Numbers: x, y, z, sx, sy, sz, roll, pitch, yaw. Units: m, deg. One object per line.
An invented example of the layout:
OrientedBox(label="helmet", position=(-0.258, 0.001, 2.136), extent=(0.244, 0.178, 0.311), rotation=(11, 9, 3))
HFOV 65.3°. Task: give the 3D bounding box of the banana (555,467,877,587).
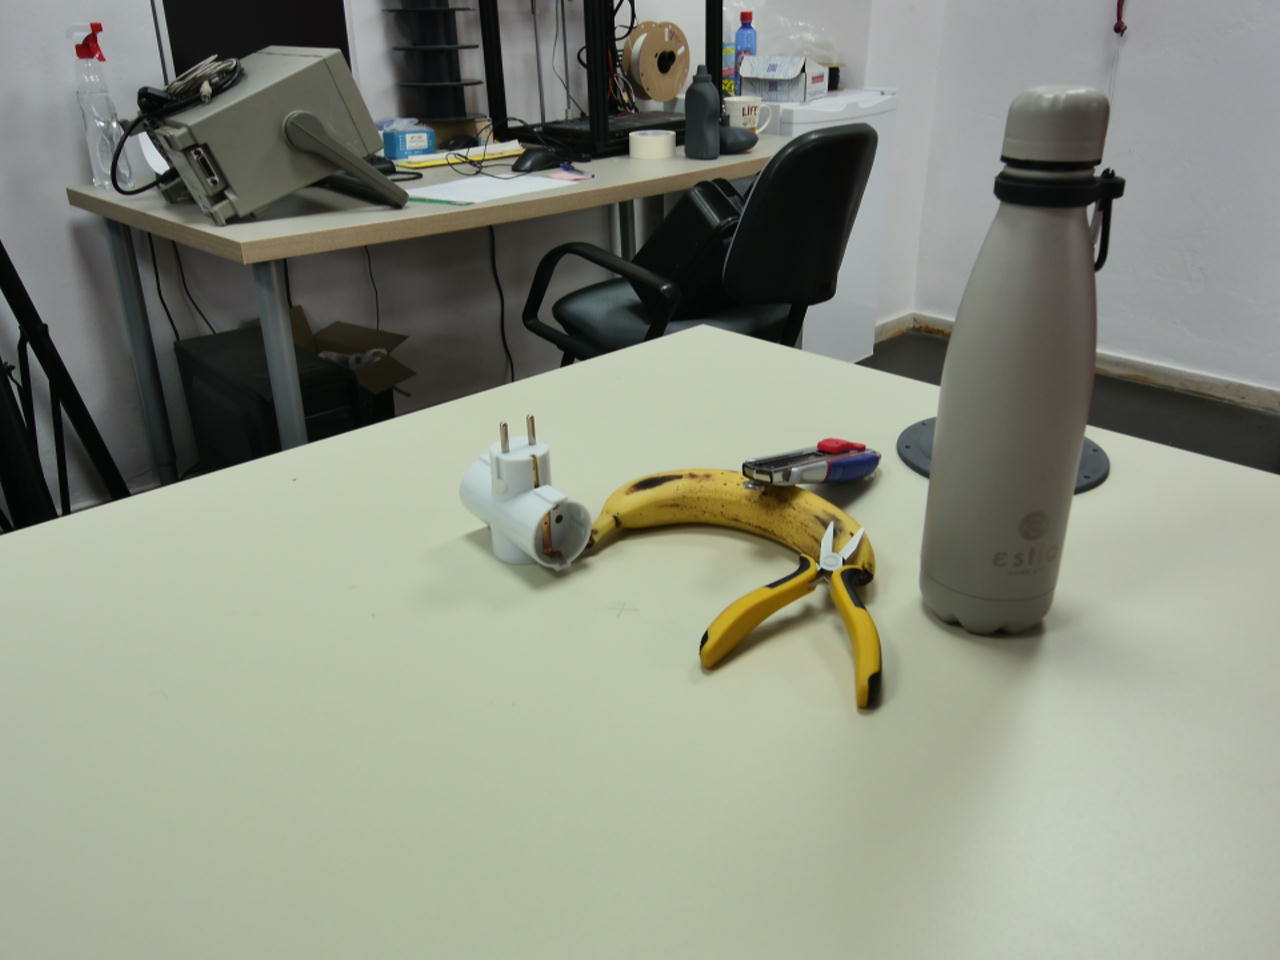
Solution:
OrientedBox(label="banana", position=(0.058, 0.026, 0.627), extent=(0.186, 0.038, 0.097), rotation=(8, 25, 18))
